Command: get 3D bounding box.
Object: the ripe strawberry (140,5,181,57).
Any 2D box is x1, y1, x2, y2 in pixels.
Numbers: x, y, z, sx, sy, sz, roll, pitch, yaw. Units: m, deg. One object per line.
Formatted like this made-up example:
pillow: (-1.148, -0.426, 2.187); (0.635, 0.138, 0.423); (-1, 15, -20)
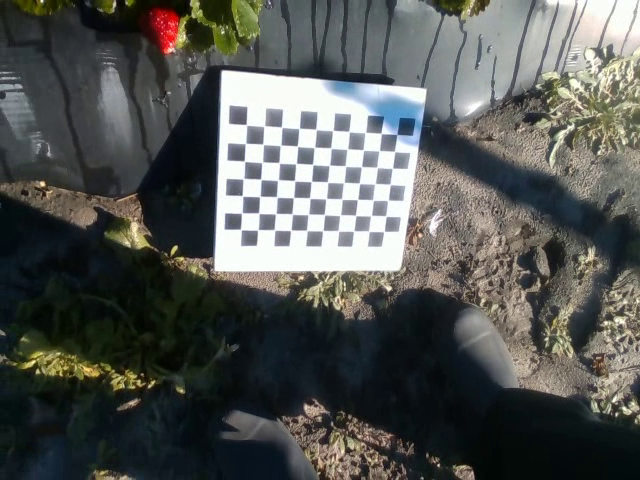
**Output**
ripe strawberry: (-0.151, -0.201, 0.579); (0.041, 0.053, 0.047); (-6, -19, -15)
